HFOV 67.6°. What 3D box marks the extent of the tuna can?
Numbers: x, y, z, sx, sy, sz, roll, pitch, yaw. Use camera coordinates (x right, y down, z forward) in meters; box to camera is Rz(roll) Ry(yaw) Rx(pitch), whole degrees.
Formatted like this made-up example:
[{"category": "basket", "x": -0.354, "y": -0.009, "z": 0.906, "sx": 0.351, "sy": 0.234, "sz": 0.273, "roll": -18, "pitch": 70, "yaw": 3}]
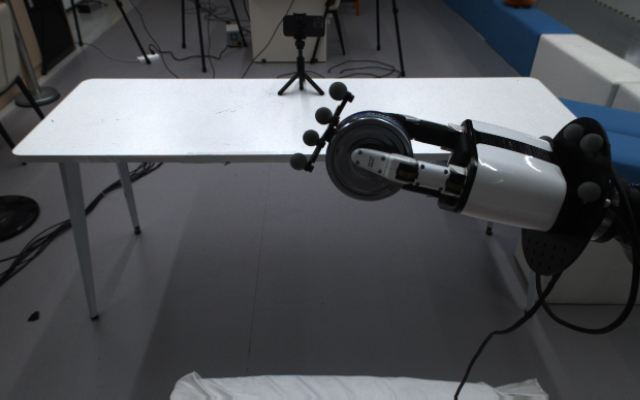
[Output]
[{"category": "tuna can", "x": 0.052, "y": -0.046, "z": 0.482, "sx": 0.085, "sy": 0.085, "sz": 0.034, "roll": 3, "pitch": 20, "yaw": 1}]
